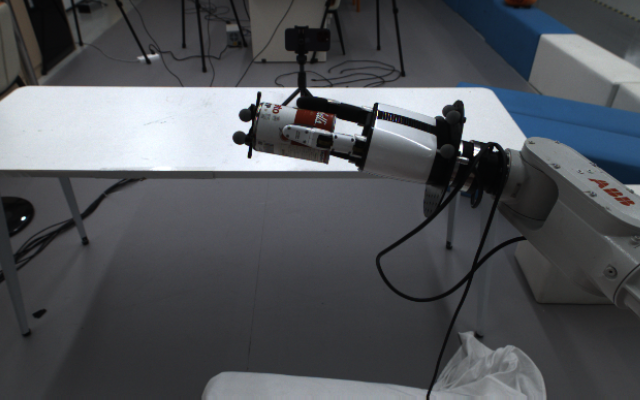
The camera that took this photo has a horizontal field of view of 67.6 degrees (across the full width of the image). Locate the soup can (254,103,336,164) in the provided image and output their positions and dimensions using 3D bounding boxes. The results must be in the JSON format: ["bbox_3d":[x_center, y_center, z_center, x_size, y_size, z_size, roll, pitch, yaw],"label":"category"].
[{"bbox_3d":[-0.032,-0.090,0.649,0.101,0.067,0.067,10,35,0],"label":"soup can"}]
